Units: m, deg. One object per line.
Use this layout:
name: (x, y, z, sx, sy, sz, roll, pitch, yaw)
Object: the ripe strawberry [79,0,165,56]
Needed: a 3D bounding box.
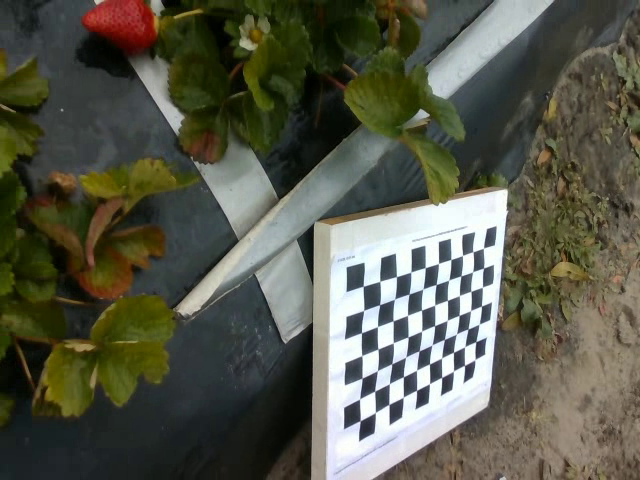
ripe strawberry: (-0.129, -0.139, 0.405, 0.037, 0.042, 0.051, 18, 26, 41)
